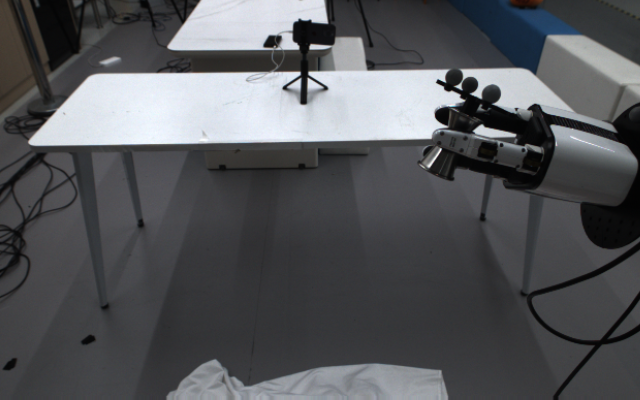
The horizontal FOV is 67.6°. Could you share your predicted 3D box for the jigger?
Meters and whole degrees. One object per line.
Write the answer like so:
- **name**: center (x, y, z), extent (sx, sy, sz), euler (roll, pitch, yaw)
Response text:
- **jigger**: center (0.137, -0.060, 0.514), extent (0.043, 0.071, 0.043), euler (23, 19, -8)
